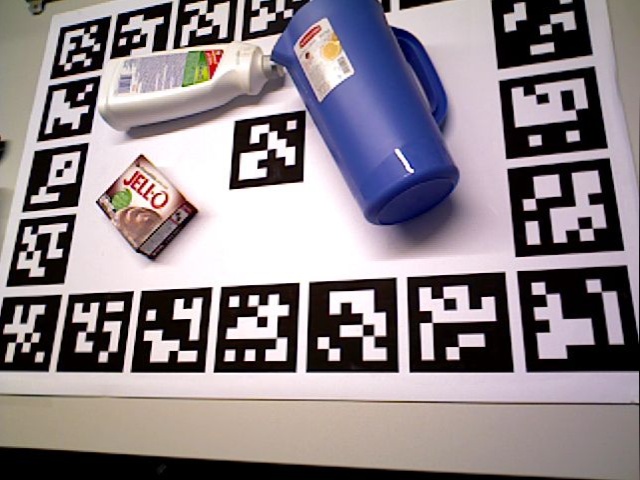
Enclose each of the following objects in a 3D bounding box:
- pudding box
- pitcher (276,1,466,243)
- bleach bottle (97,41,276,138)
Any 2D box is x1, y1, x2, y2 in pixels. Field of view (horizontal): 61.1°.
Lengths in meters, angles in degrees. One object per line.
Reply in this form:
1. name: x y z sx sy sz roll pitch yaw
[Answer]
1. pudding box: -0.234 -0.036 0.697 0.089 0.039 0.113 -43 67 -5
2. pitcher: 0.069 -0.126 0.599 0.185 0.136 0.241 -15 70 -24
3. bleach bottle: -0.172 -0.207 0.722 0.252 0.068 0.102 -6 75 14
